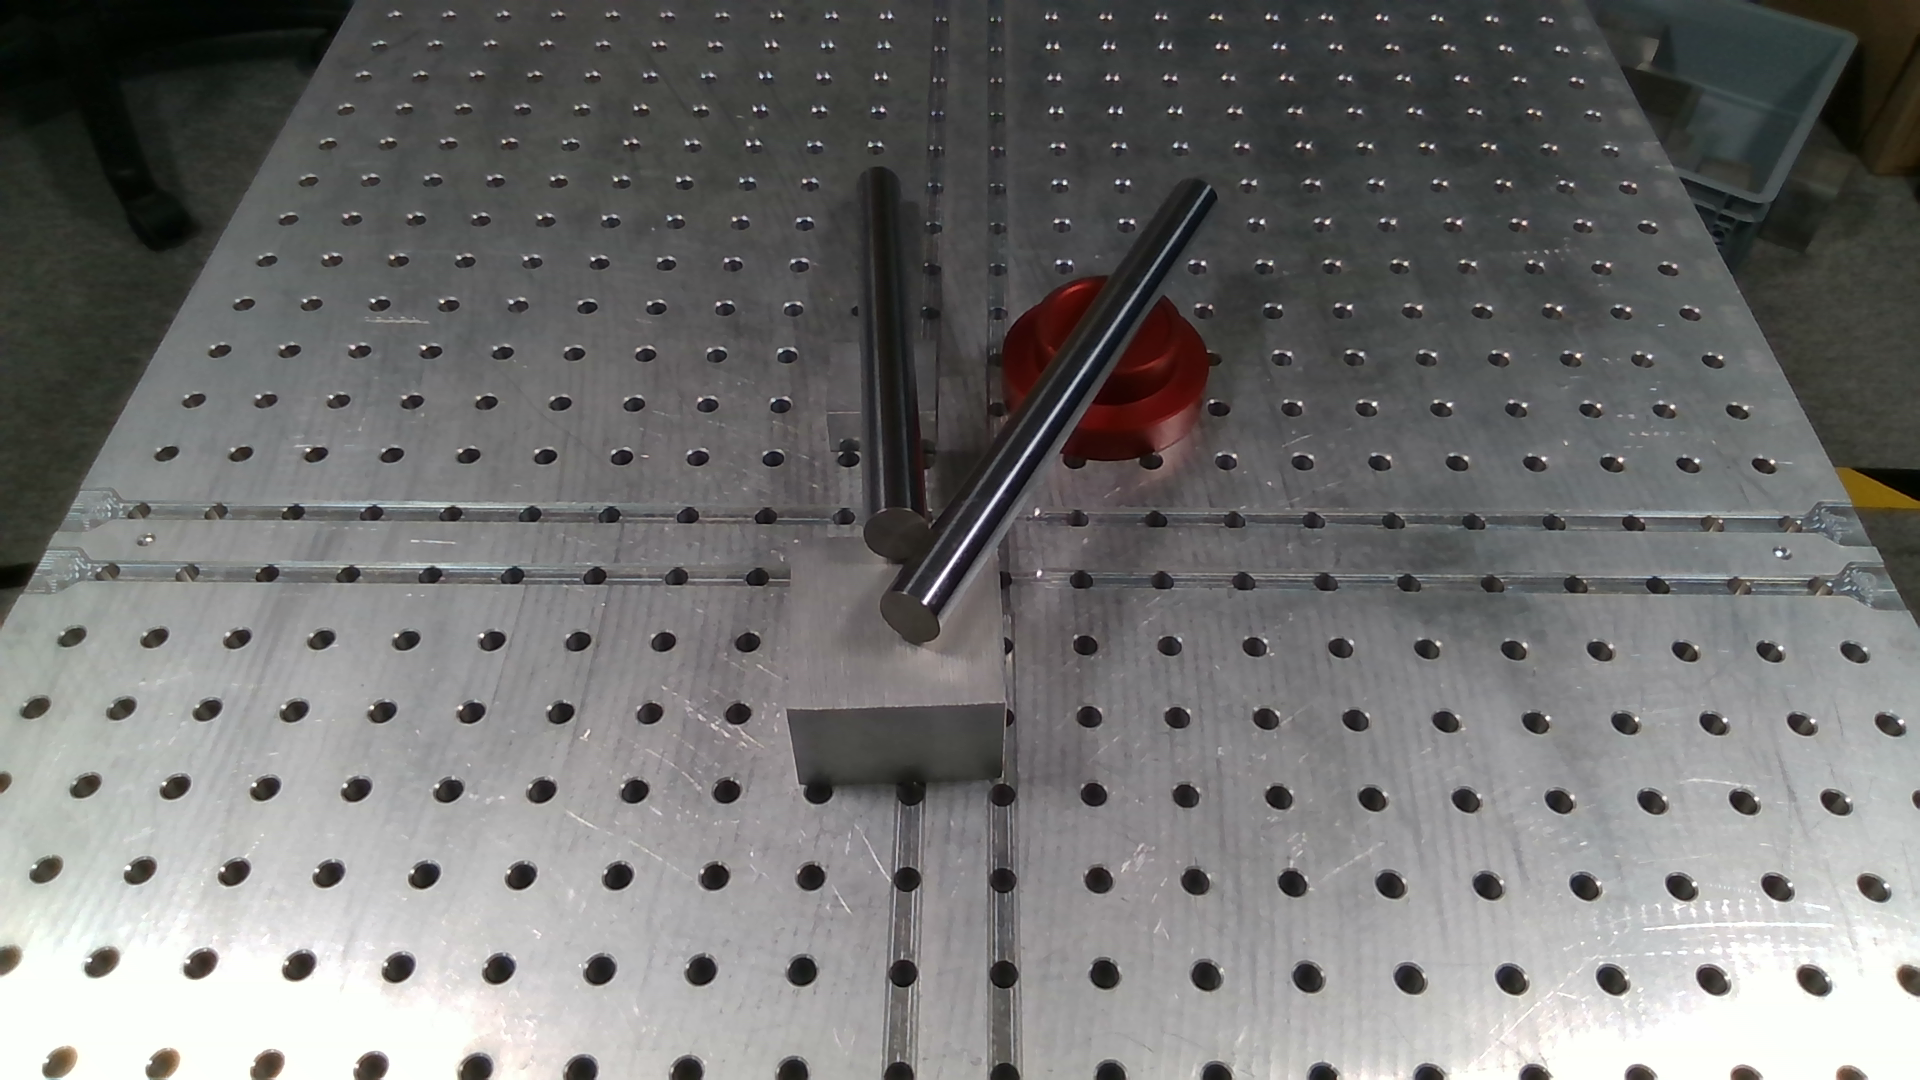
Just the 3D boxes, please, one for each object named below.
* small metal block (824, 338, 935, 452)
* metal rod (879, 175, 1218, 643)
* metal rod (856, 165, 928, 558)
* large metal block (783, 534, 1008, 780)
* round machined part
[{"bbox_3d":[-0.037,-0.069,0.648,0.050,0.025,0.050,0,50,0],"label":"small metal block"},{"bbox_3d":[0.048,-0.070,0.586,0.025,0.025,0.299,21,50,17],"label":"metal rod"},{"bbox_3d":[-0.035,-0.098,0.636,0.025,0.025,0.299,-3,40,-2],"label":"metal rod"},{"bbox_3d":[-0.024,0.044,0.533,0.080,0.050,0.080,-2,50,-1],"label":"large metal block"},{"bbox_3d":[0.068,-0.088,0.652,0.098,0.042,0.098,0,50,0],"label":"round machined part"}]
